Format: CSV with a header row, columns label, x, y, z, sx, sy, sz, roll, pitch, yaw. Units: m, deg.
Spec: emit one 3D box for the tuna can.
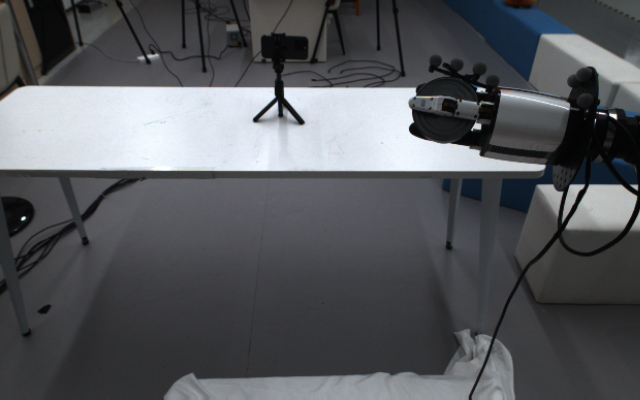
label,x,y,z,sx,sy,sz,roll,pitch,yaw
tuna can,0.170,-0.122,0.653,0.085,0.085,0.034,13,3,15
